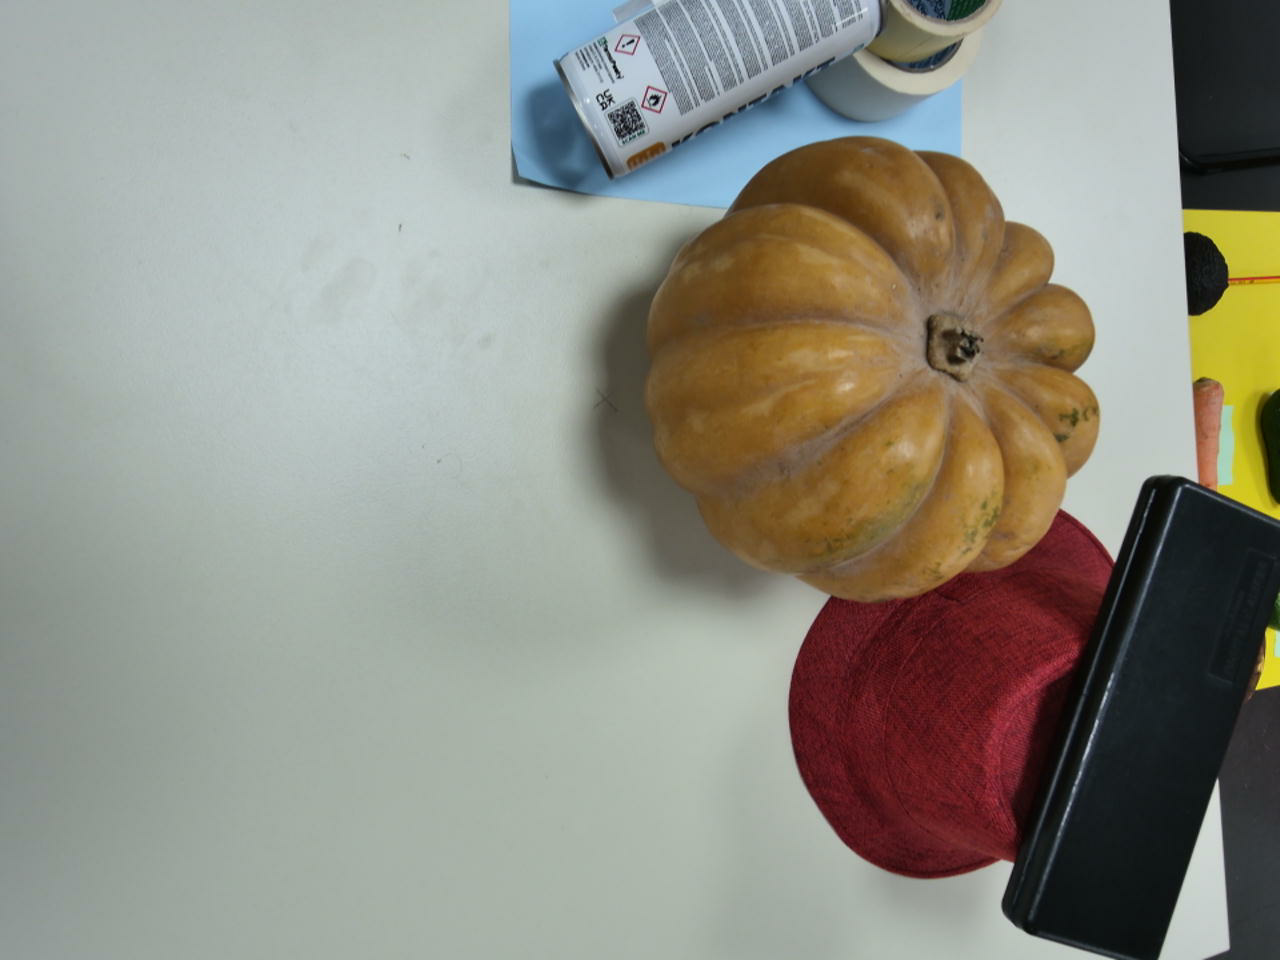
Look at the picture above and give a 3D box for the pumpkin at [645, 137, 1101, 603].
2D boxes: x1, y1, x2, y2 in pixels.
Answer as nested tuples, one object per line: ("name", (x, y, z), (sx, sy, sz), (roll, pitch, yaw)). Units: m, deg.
("pumpkin", (0.111, -0.051, 0.508), (0.230, 0.194, 0.230), (0, 91, -22))
